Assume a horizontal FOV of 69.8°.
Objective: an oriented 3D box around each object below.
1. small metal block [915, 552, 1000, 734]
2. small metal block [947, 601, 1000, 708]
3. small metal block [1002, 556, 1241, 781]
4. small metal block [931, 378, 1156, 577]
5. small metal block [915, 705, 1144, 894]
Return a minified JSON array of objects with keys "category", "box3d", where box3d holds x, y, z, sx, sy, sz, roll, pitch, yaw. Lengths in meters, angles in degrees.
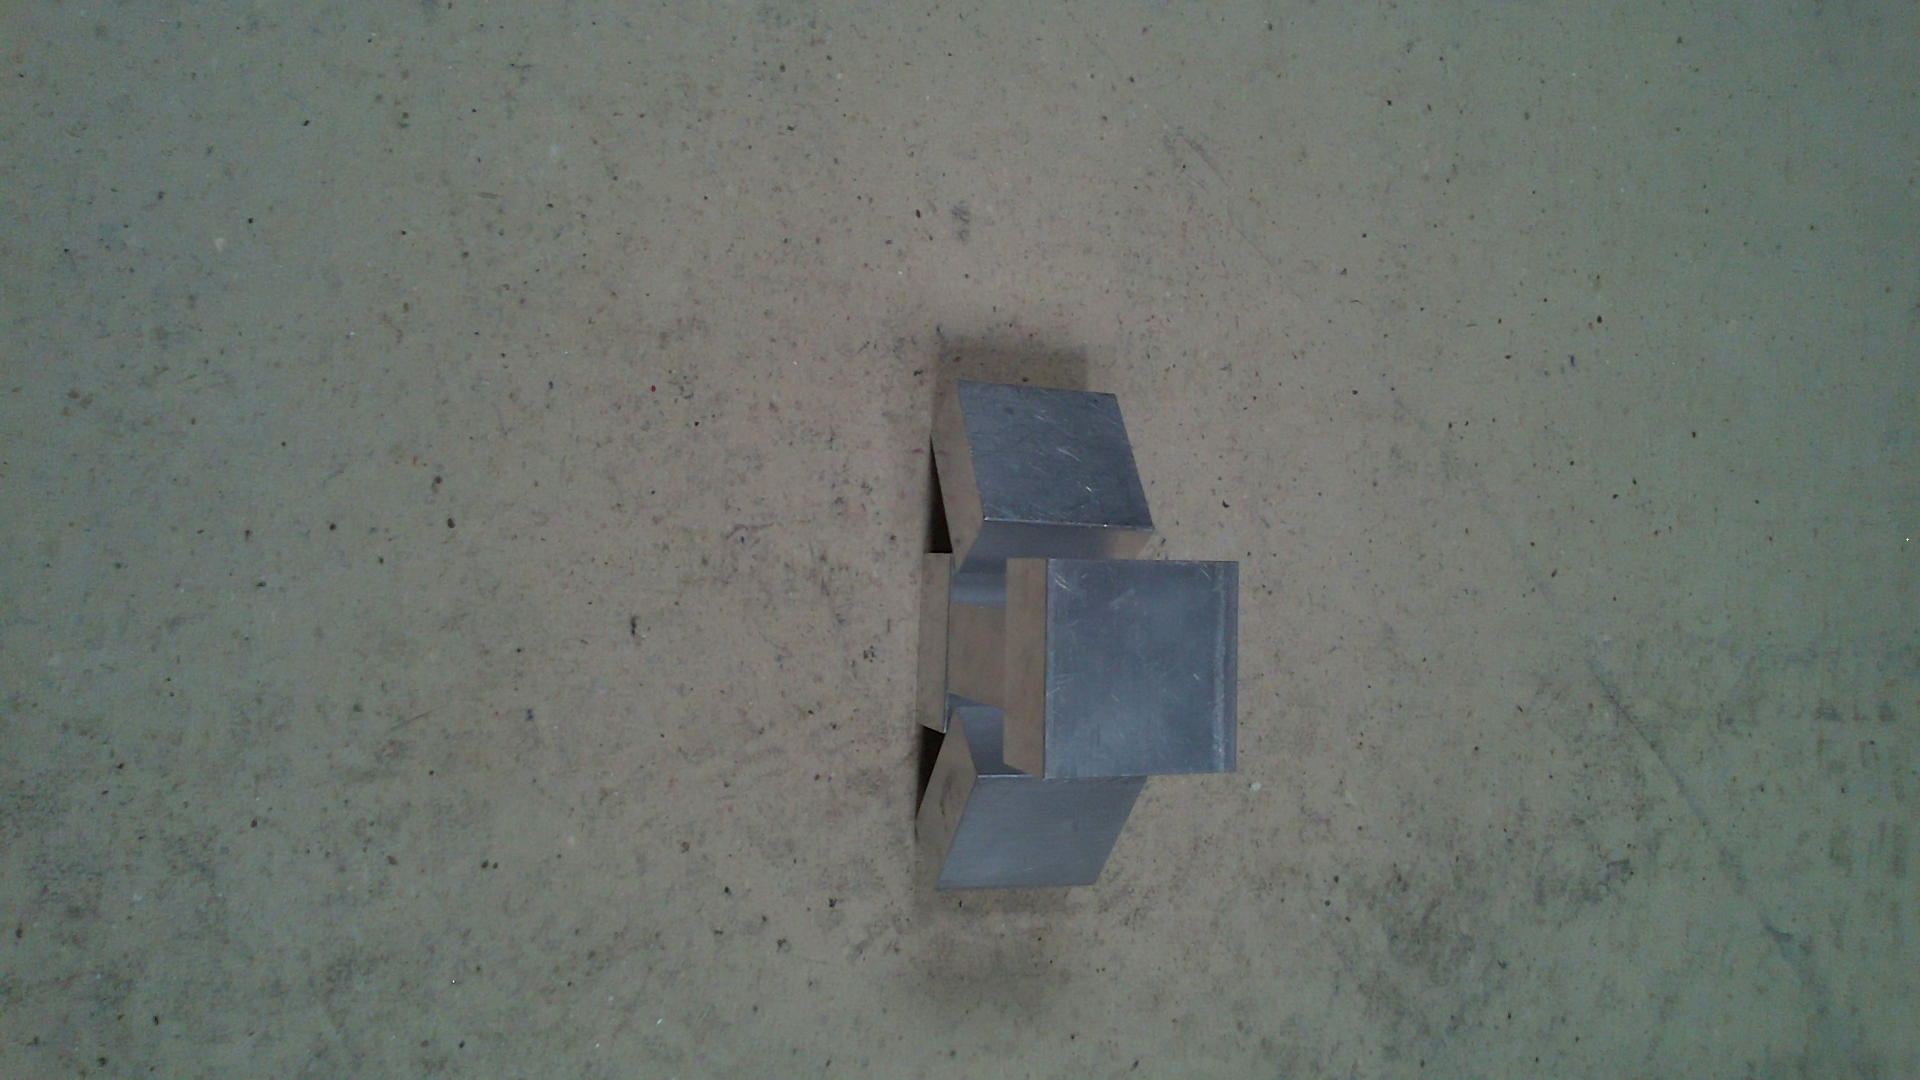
[{"category":"small metal block","box3d":[0.016,0.029,0.400,0.050,0.025,0.050,3,89,-20]},{"category":"small metal block","box3d":[0.029,0.030,0.364,0.050,0.050,0.025,3,89,-20]},{"category":"small metal block","box3d":[0.038,0.029,0.328,0.050,0.025,0.050,1,90,-20]},{"category":"small metal block","box3d":[0.022,-0.017,0.389,0.050,0.025,0.050,3,53,-20]},{"category":"small metal block","box3d":[0.019,0.073,0.387,0.050,0.025,0.050,2,130,-20]}]
